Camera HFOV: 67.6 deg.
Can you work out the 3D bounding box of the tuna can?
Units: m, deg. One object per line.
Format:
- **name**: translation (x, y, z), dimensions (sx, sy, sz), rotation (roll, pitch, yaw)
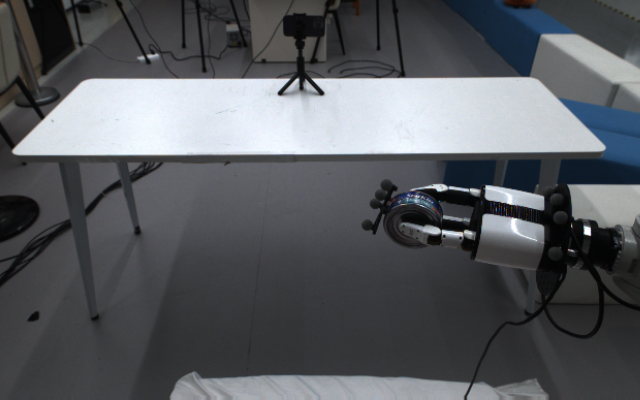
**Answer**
- **tuna can**: translation (0.140, 0.028, 0.719), dimensions (0.085, 0.085, 0.034), rotation (9, 35, 9)
